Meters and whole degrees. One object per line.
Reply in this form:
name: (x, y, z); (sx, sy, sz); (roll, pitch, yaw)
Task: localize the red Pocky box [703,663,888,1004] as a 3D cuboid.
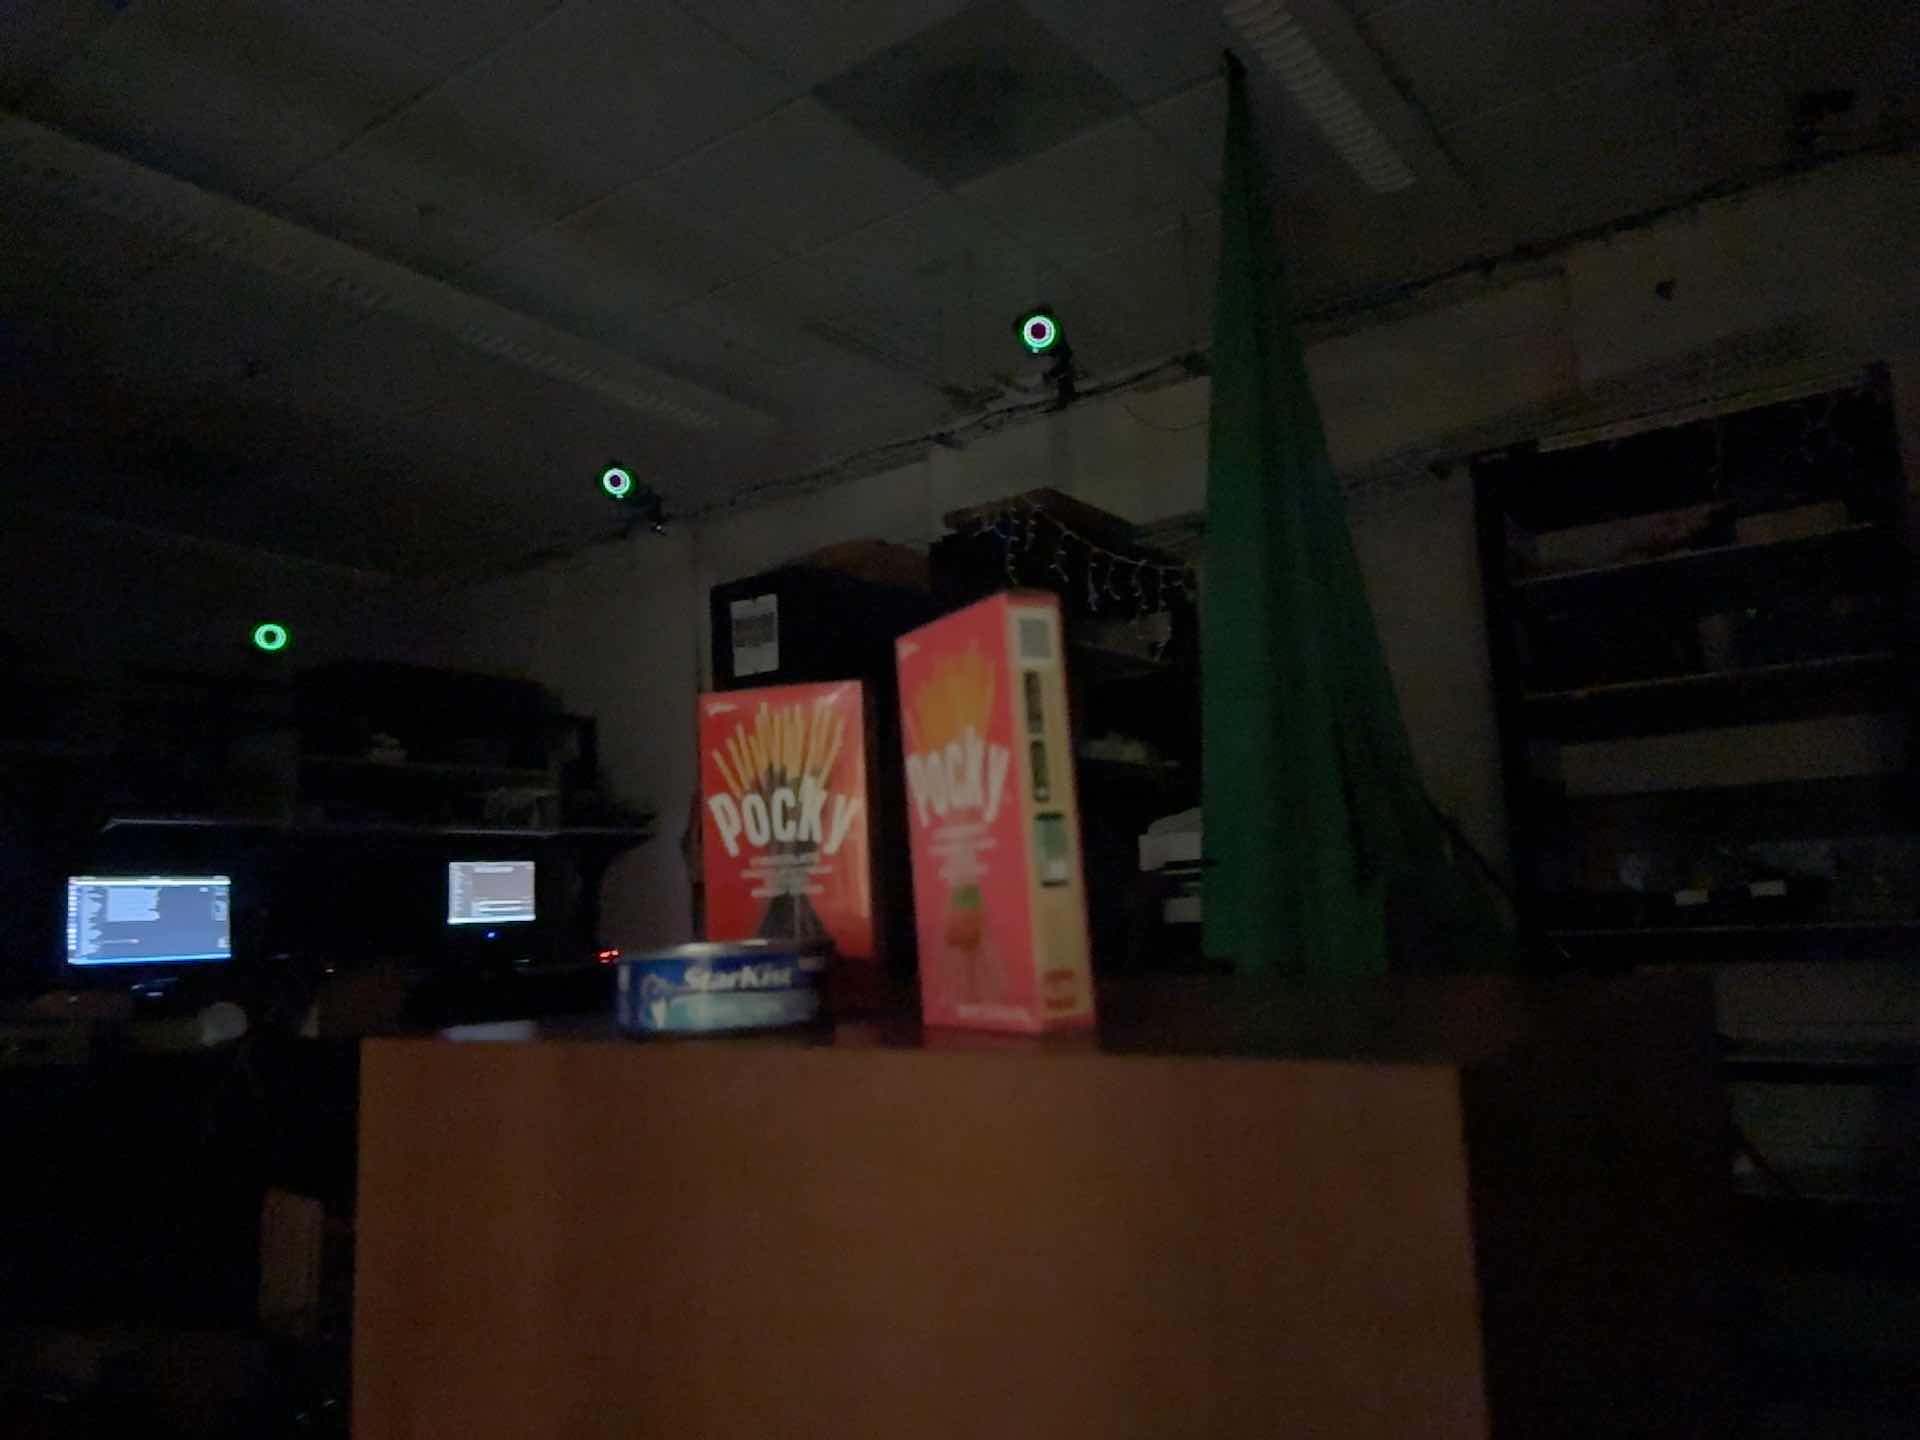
red Pocky box: (-0.078, 0.053, 0.626); (0.083, 0.155, 0.028); (-4, -5, 20)

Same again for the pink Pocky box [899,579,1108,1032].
pink Pocky box: (0.013, 0.033, 0.492); (0.029, 0.155, 0.084); (0, -7, -31)

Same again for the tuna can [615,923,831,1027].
tuna can: (-0.093, 0.100, 0.533); (0.083, 0.034, 0.083); (-3, -7, 0)
